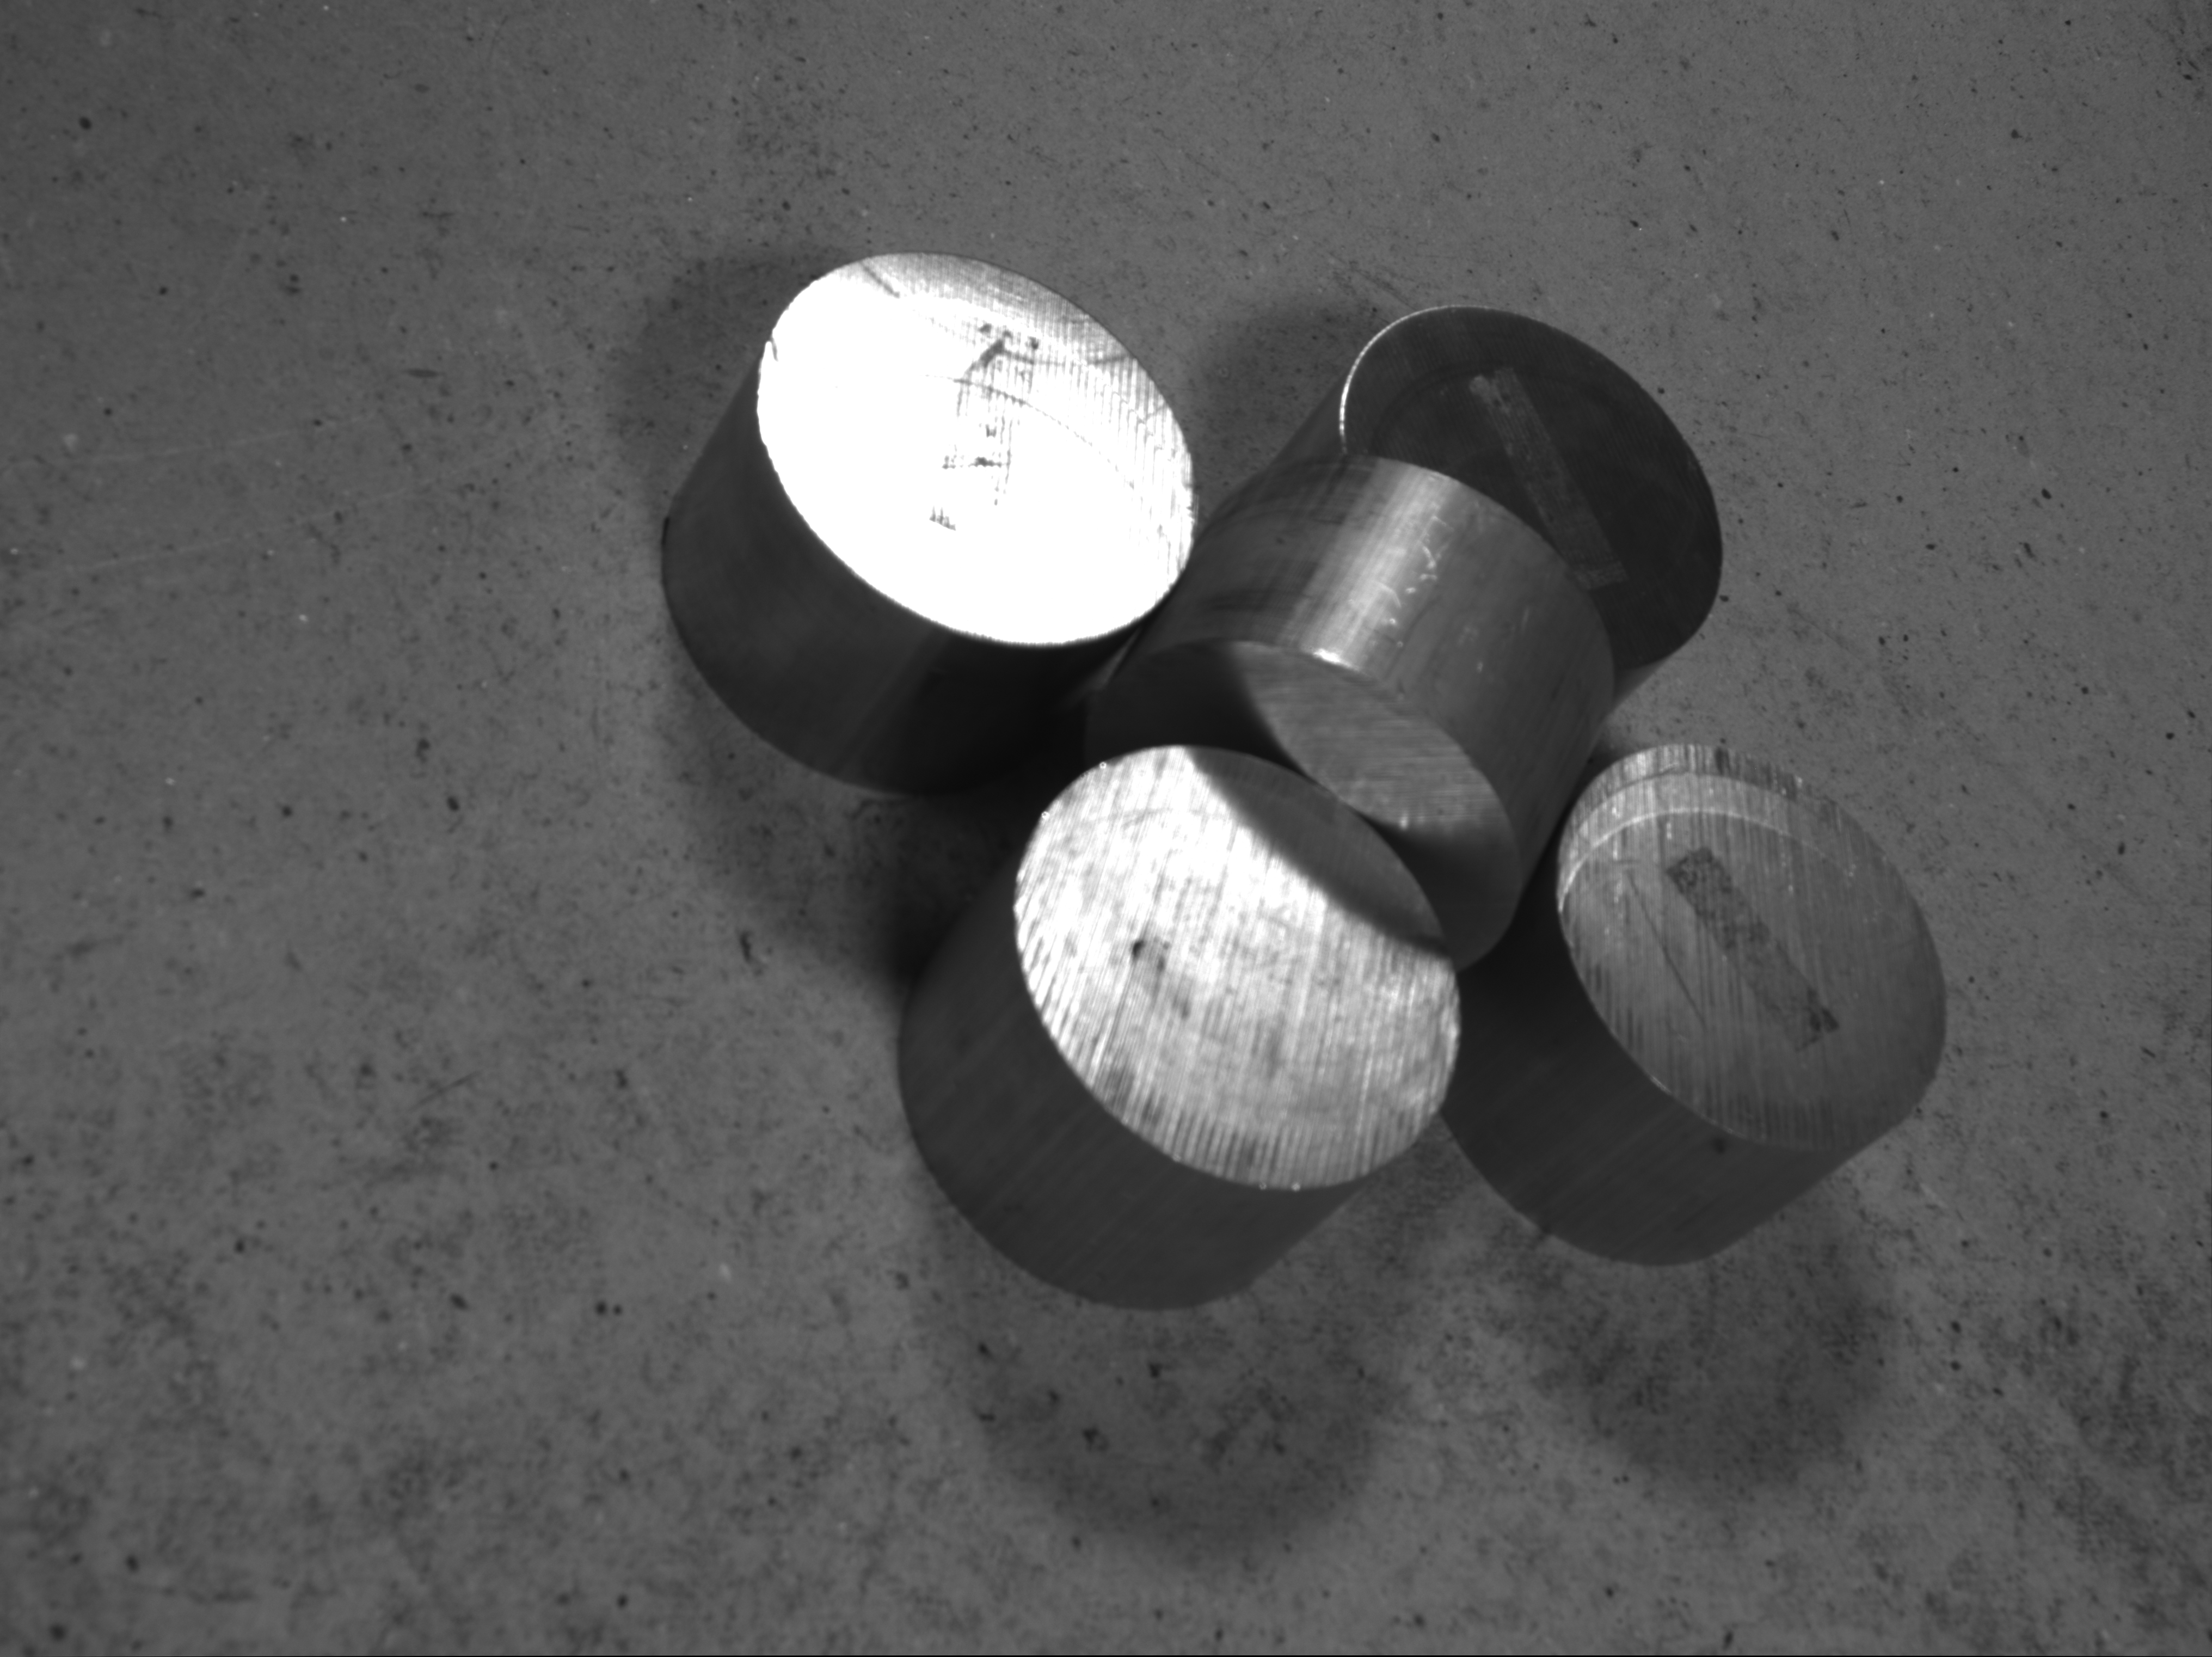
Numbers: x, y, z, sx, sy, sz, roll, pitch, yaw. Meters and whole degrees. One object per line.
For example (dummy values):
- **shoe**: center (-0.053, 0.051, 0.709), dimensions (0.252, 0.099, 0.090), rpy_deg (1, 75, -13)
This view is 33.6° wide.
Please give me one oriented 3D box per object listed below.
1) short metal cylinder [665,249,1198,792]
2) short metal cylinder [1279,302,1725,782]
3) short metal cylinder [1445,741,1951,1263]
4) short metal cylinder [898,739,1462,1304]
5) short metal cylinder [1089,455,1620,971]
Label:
- **short metal cylinder**: center (-0.031, -0.053, 0.639), dimensions (0.080, 0.050, 0.080), rpy_deg (14, 56, -21)
- **short metal cylinder**: center (0.069, -0.052, 0.690), dimensions (0.080, 0.050, 0.080), rpy_deg (14, 56, -21)
- **short metal cylinder**: center (0.104, 0.031, 0.659), dimensions (0.080, 0.050, 0.080), rpy_deg (14, 56, -21)
- **short metal cylinder**: center (0.012, 0.032, 0.609), dimensions (0.080, 0.050, 0.080), rpy_deg (14, 56, -21)
- **short metal cylinder**: center (0.044, -0.018, 0.639), dimensions (0.080, 0.080, 0.050), rpy_deg (34, 51, -5)
